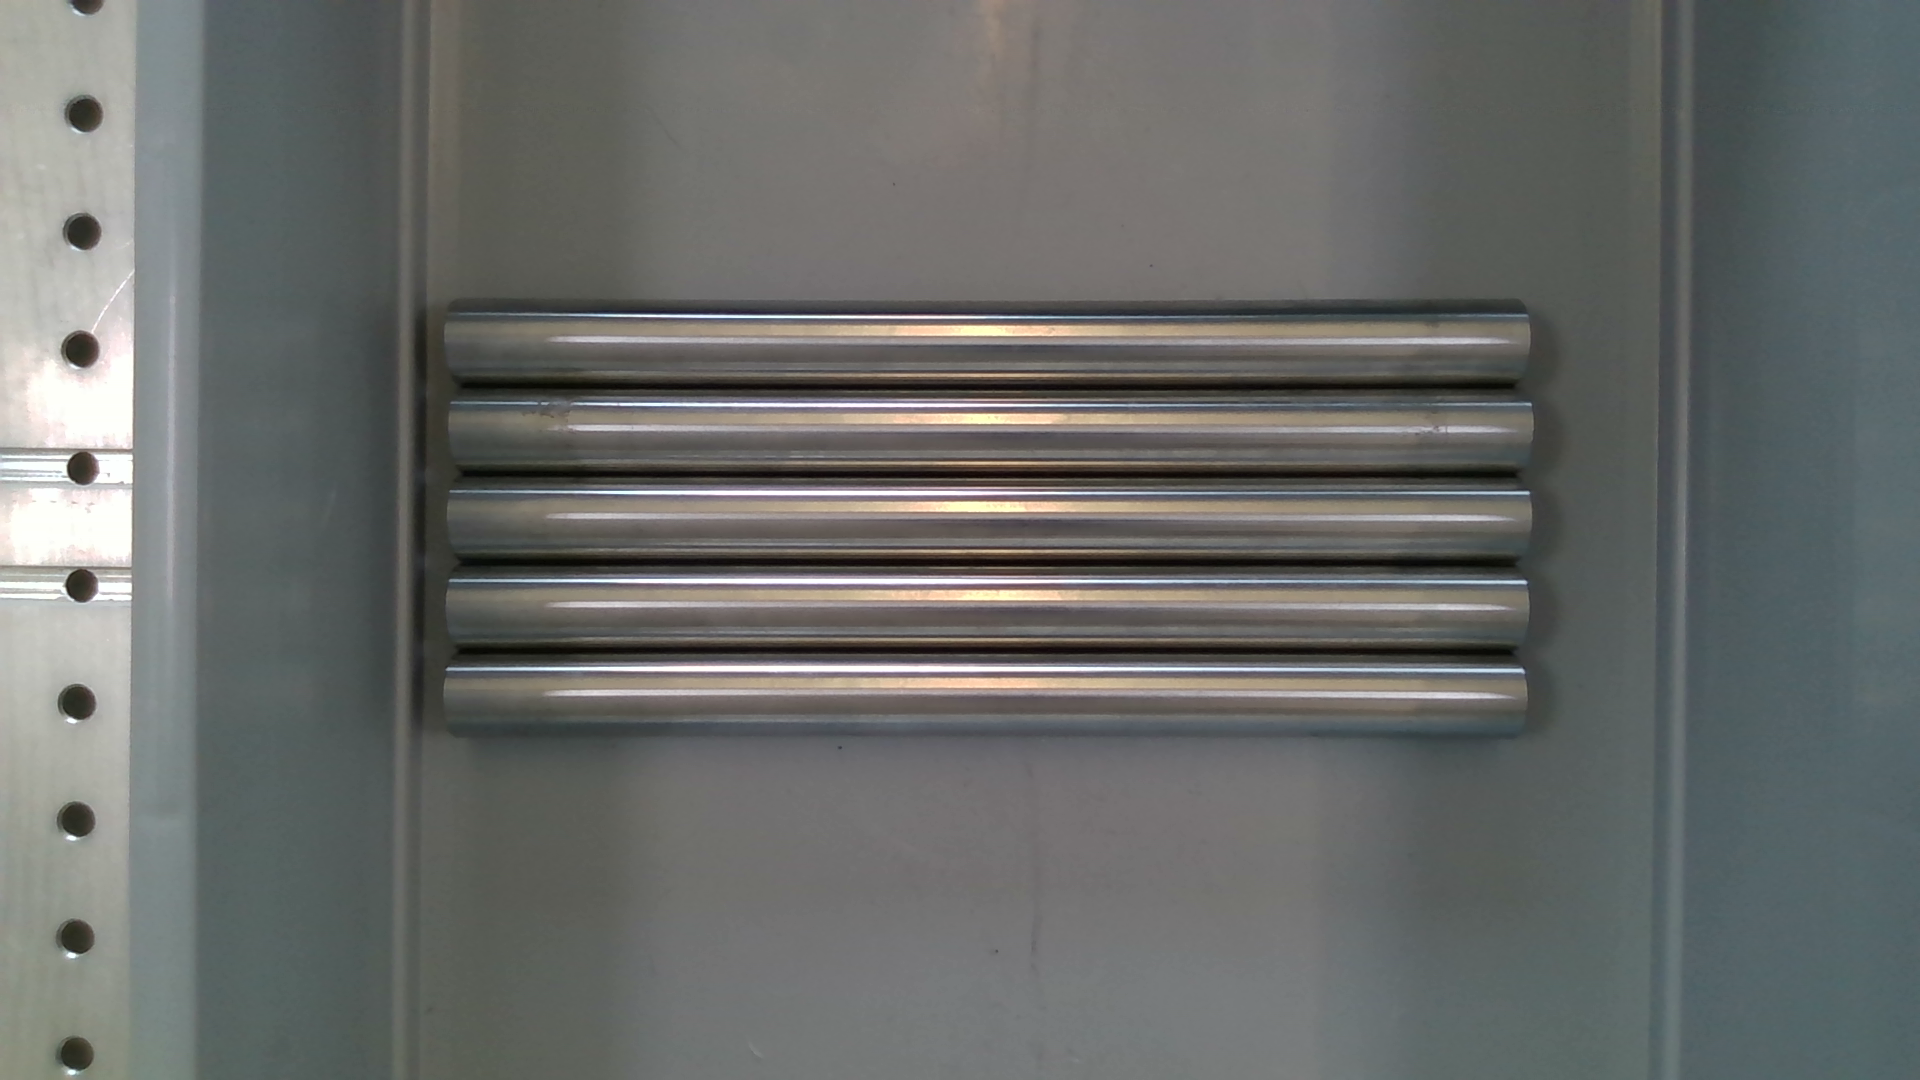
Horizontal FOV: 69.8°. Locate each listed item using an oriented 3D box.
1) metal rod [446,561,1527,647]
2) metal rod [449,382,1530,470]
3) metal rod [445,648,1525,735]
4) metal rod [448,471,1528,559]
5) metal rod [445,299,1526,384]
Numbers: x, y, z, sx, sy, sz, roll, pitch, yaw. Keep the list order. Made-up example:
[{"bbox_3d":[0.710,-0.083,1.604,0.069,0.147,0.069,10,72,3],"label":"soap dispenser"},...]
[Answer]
[{"bbox_3d":[0.007,0.018,0.395,0.300,0.025,0.025,0,90,0],"label":"metal rod"},{"bbox_3d":[0.008,-0.033,0.394,0.300,0.025,0.025,0,90,0],"label":"metal rod"},{"bbox_3d":[0.007,0.043,0.395,0.300,0.025,0.025,0,90,0],"label":"metal rod"},{"bbox_3d":[0.008,-0.007,0.395,0.300,0.025,0.025,0,90,0],"label":"metal rod"},{"bbox_3d":[0.007,-0.056,0.394,0.300,0.025,0.025,0,90,0],"label":"metal rod"}]
